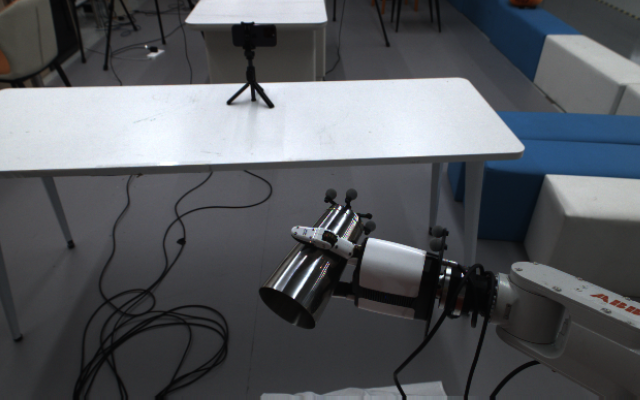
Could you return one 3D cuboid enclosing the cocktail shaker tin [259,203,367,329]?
[{"bbox_3d":[-0.001,0.084,0.697,0.093,0.093,0.170,19,55,22],"label":"cocktail shaker tin"}]
